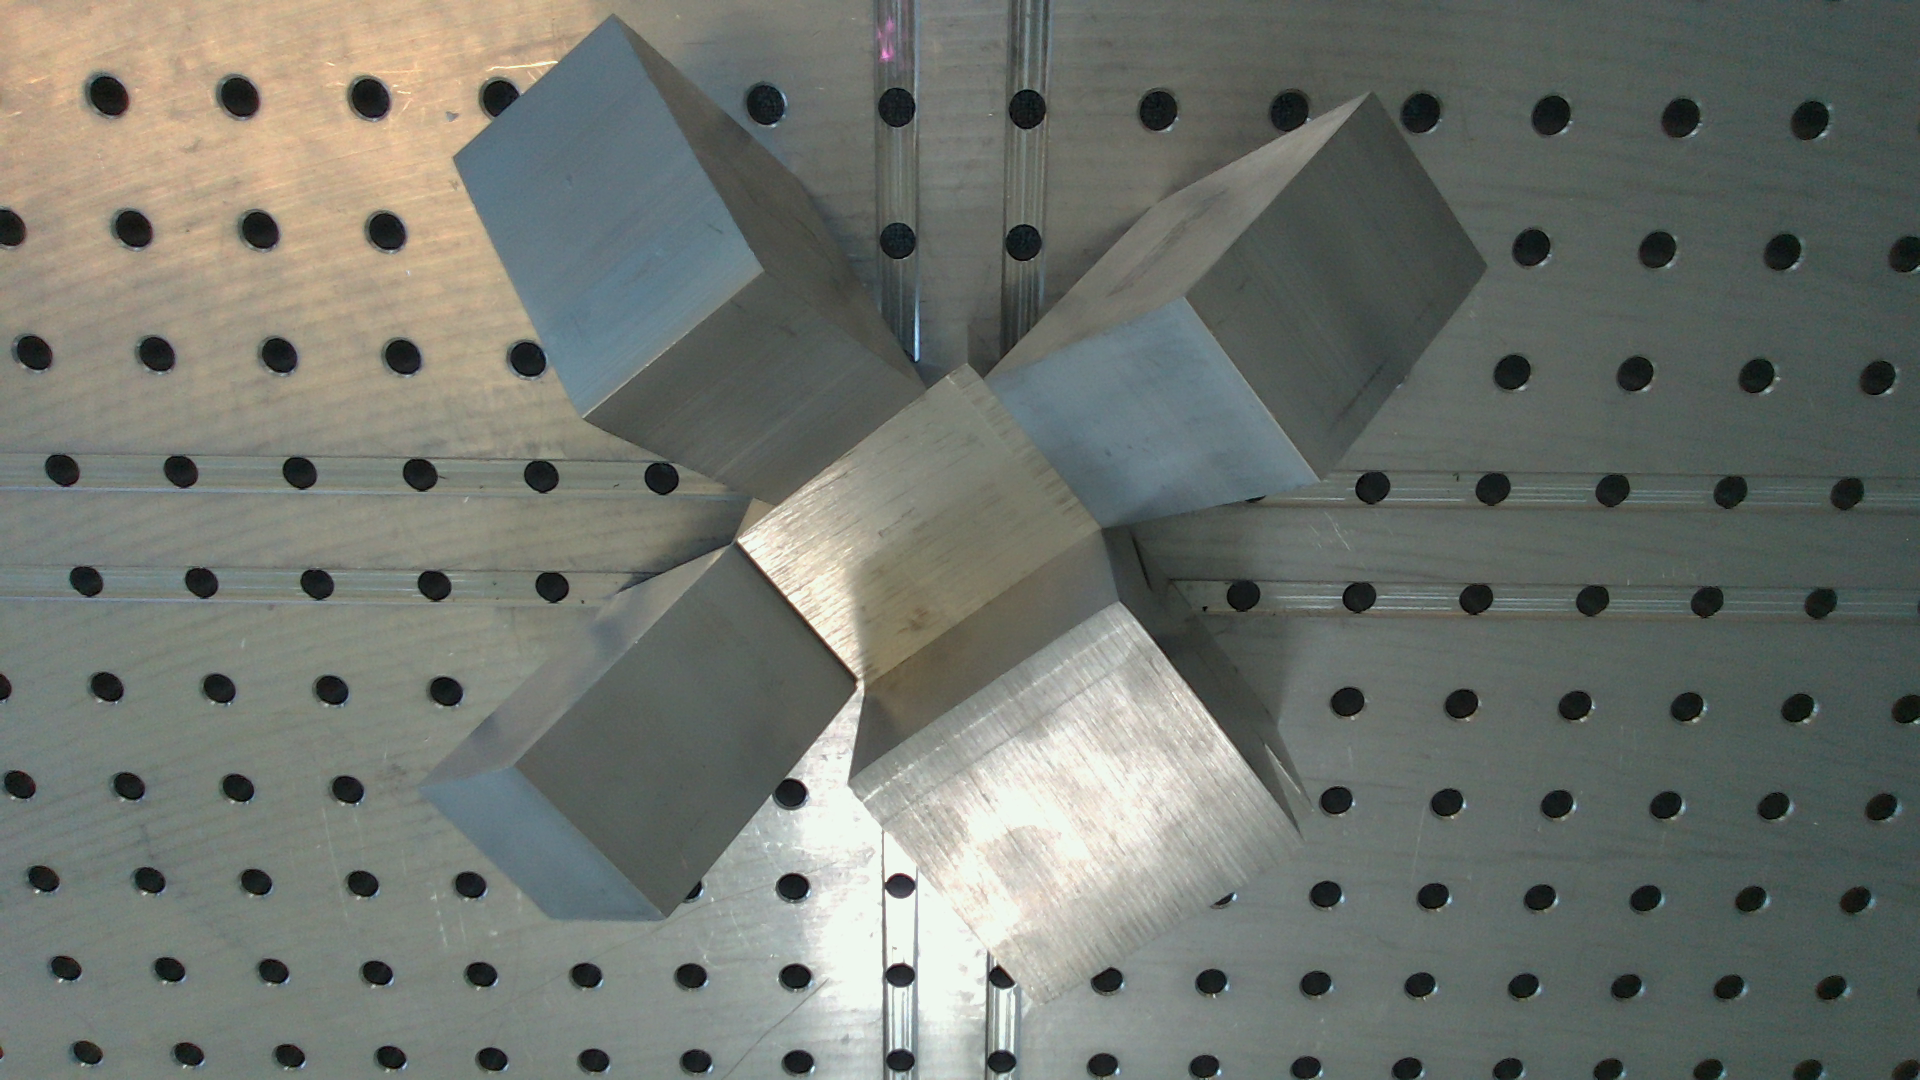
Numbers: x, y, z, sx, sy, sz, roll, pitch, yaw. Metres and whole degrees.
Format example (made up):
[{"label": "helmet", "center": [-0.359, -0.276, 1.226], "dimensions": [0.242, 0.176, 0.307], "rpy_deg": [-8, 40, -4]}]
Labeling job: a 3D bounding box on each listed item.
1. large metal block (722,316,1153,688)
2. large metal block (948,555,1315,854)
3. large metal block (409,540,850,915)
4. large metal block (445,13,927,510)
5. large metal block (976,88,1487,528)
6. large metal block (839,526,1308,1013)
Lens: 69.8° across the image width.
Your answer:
[{"label": "large metal block", "center": [-0.005, -0.002, 0.382], "dimensions": [0.080, 0.050, 0.080], "rpy_deg": [-37, 106, 12]}, {"label": "large metal block", "center": [0.043, 0.060, 0.405], "dimensions": [0.080, 0.050, 0.080], "rpy_deg": [-35, 105, 11]}, {"label": "large metal block", "center": [-0.089, 0.052, 0.370], "dimensions": [0.050, 0.080, 0.080], "rpy_deg": [50, 144, -15]}, {"label": "large metal block", "center": [-0.063, -0.061, 0.328], "dimensions": [0.050, 0.080, 0.080], "rpy_deg": [-36, 67, 12]}, {"label": "large metal block", "center": [0.064, -0.052, 0.332], "dimensions": [0.050, 0.080, 0.080], "rpy_deg": [50, 63, -15]}, {"label": "large metal block", "center": [0.027, 0.058, 0.350], "dimensions": [0.080, 0.050, 0.080], "rpy_deg": [-36, 107, 11]}]
